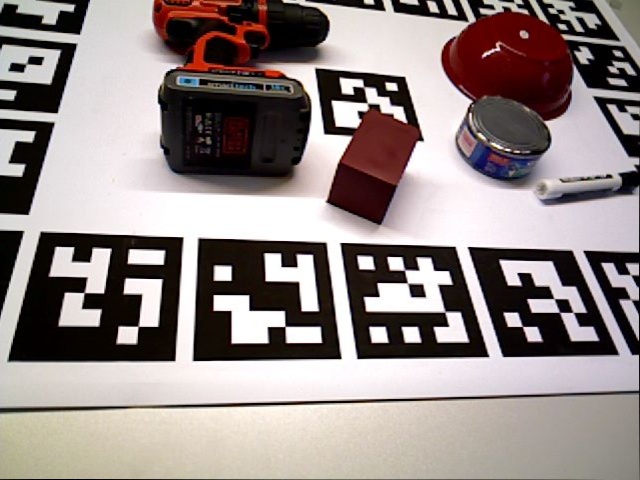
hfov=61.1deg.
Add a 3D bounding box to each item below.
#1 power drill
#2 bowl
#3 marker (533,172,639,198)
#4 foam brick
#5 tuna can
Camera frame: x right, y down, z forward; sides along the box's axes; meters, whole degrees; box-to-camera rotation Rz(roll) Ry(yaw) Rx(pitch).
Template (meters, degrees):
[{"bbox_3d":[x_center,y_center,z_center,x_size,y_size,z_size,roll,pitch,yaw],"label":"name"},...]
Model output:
[{"bbox_3d":[-0.081,-0.160,0.501,0.182,0.059,0.184,3,52,-15],"label":"power drill"},{"bbox_3d":[0.210,-0.205,0.610,0.160,0.056,0.159,4,47,-6],"label":"bowl"},{"bbox_3d":[0.260,-0.053,0.520,0.119,0.020,0.019,-6,58,-17],"label":"marker"},{"bbox_3d":[0.040,-0.061,0.464,0.051,0.054,0.076,23,54,1],"label":"foam brick"},{"bbox_3d":[0.174,-0.103,0.528,0.085,0.034,0.084,7,53,-11],"label":"tuna can"}]
